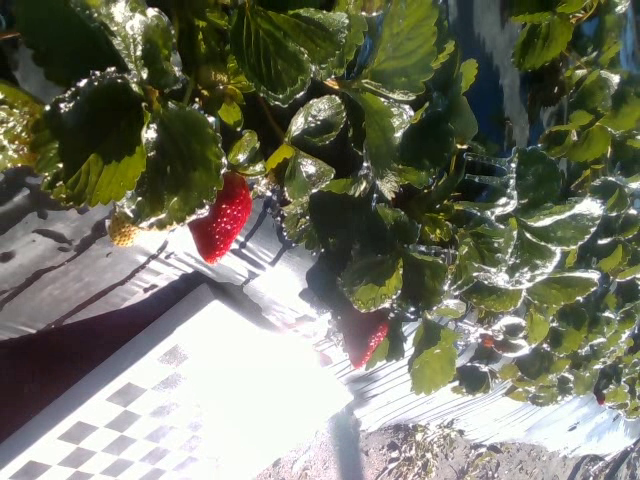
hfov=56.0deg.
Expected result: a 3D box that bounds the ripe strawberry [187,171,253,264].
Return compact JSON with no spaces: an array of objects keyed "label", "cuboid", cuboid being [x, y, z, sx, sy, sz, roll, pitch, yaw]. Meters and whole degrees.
[{"label":"ripe strawberry","cuboid":[-0.064,-0.010,0.353,0.046,0.061,0.042,1,-17,38]}]

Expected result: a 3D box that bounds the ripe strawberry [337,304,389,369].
[{"label":"ripe strawberry","cuboid":[0.039,0.091,0.530,0.044,0.061,0.048,14,-15,36]}]
